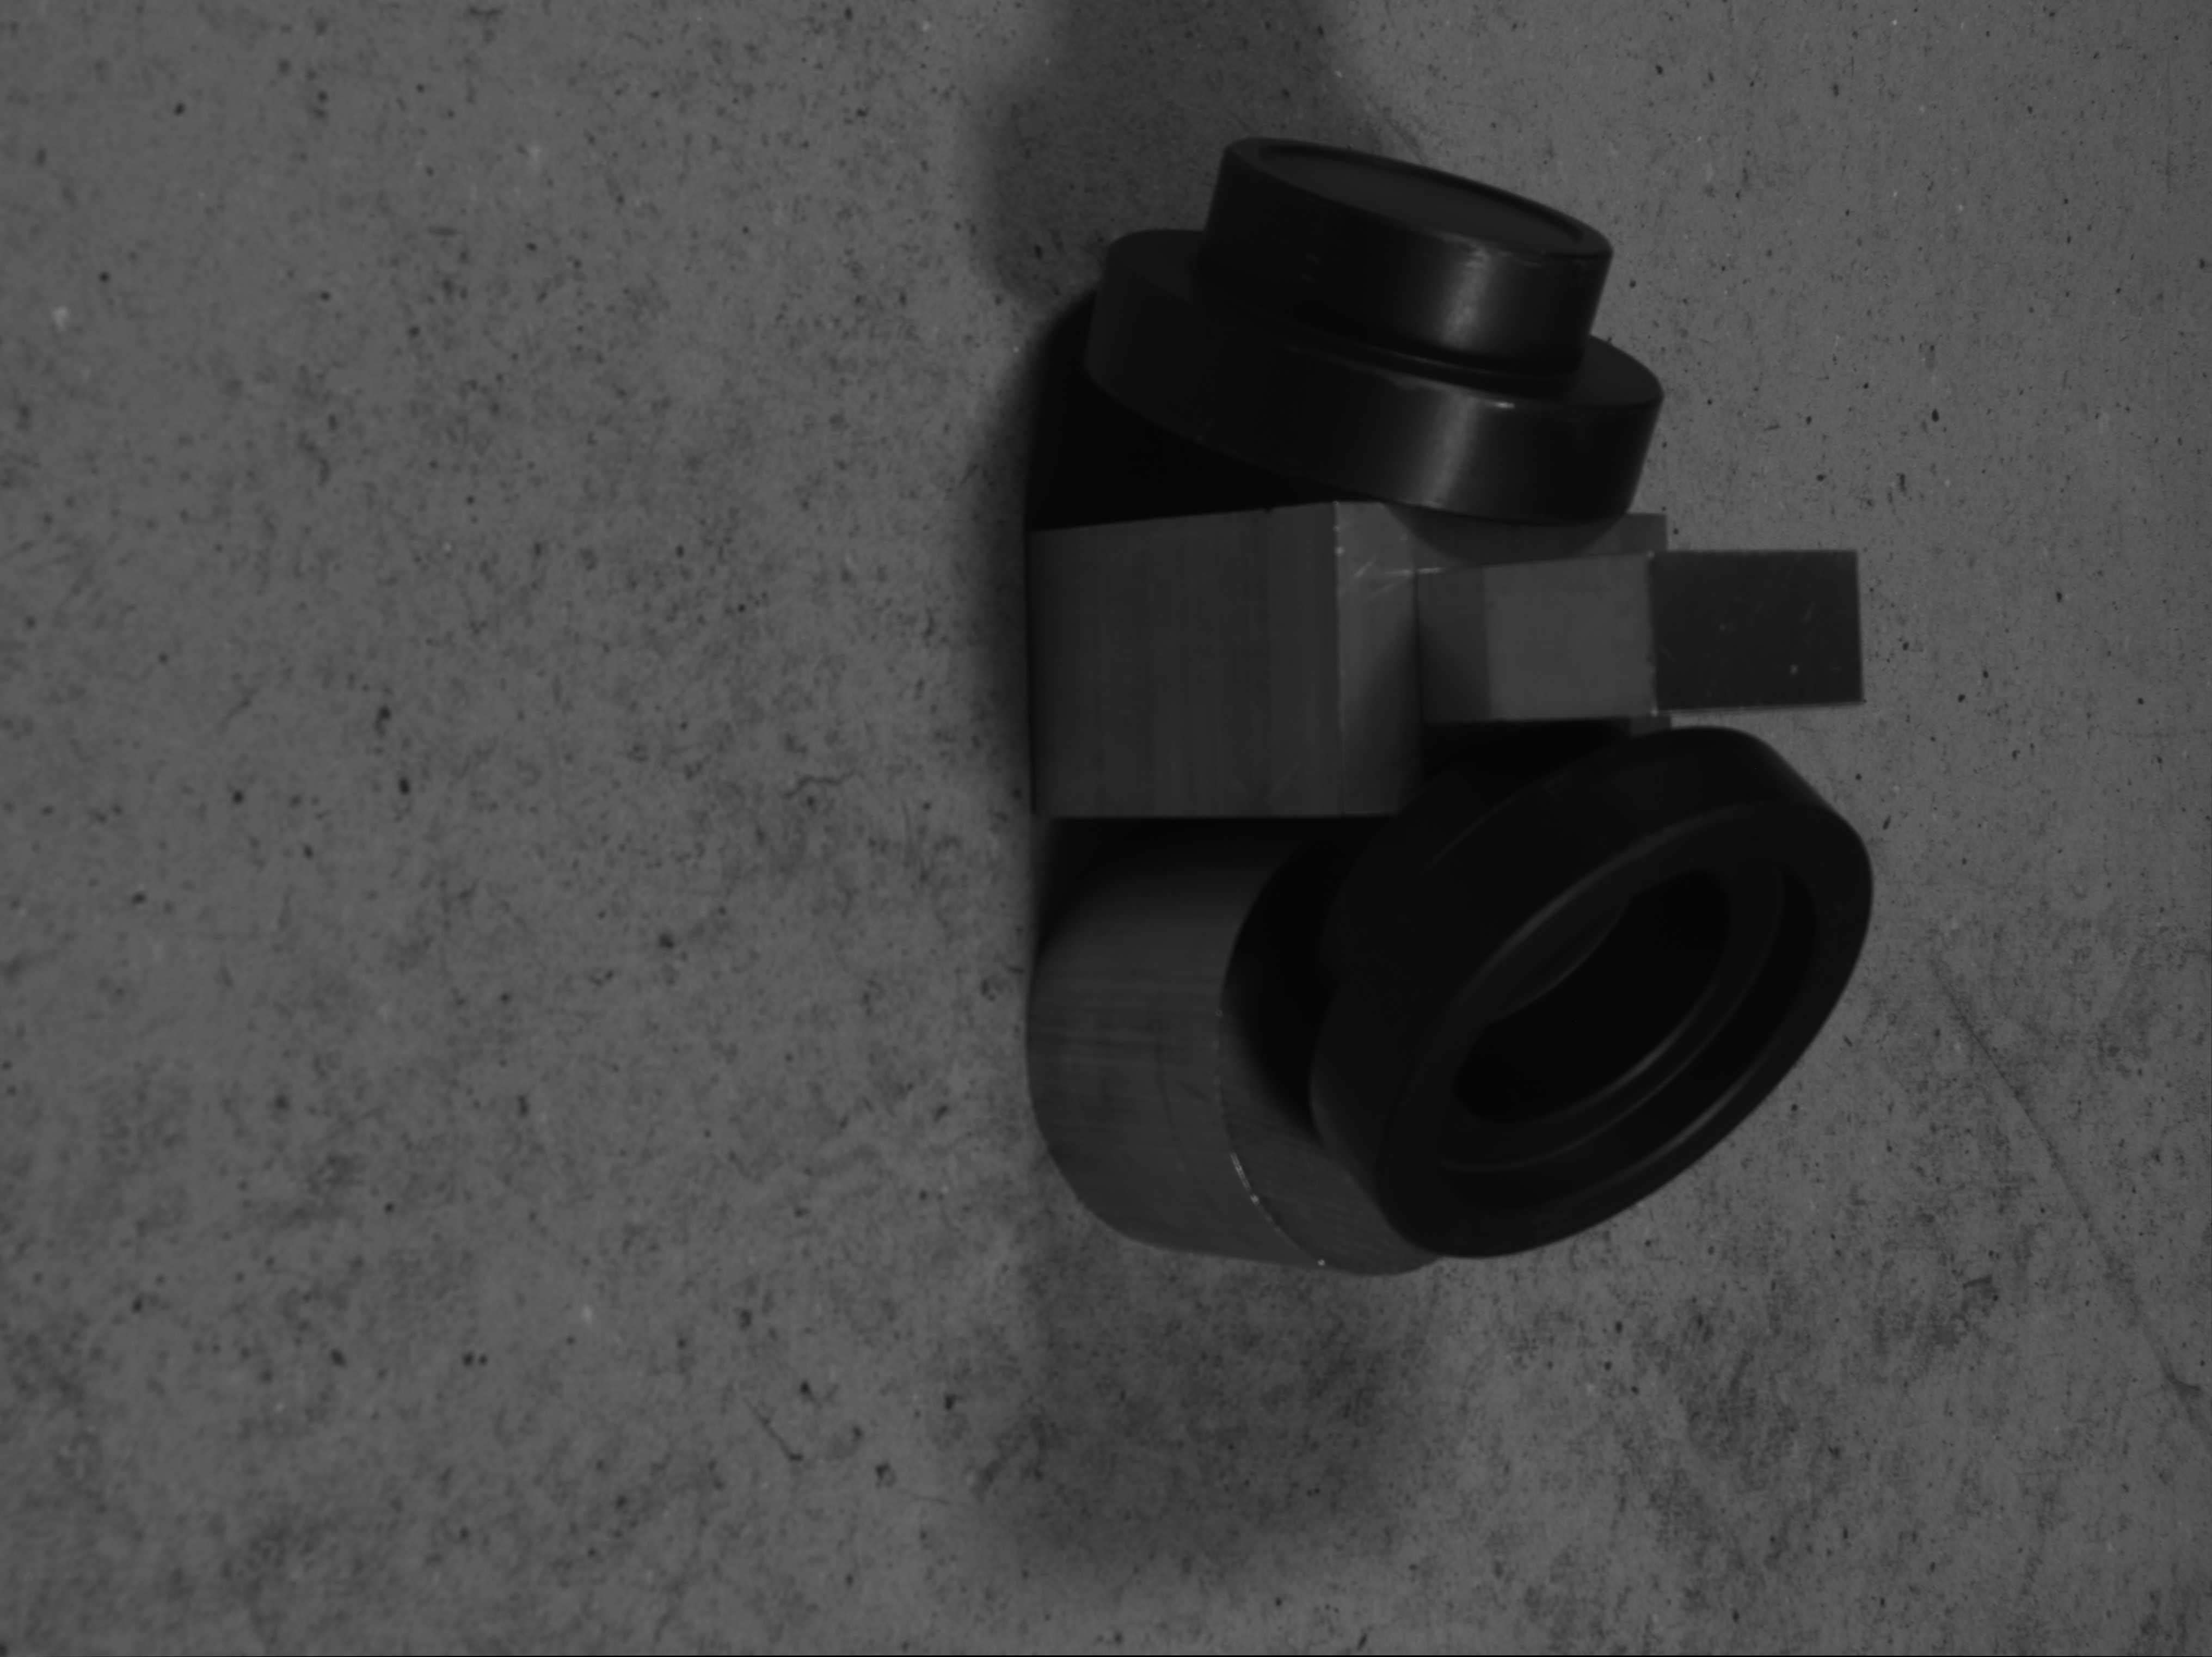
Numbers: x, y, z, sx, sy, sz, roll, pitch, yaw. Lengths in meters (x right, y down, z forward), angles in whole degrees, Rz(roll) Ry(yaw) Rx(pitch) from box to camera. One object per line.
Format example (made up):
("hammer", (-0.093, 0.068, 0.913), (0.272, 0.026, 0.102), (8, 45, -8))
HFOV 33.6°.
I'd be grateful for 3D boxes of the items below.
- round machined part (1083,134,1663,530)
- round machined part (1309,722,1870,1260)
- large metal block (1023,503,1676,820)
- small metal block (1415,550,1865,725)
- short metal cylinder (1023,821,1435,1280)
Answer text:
("round machined part", (0.048, -0.088, 0.625), (0.098, 0.098, 0.042), (-3, 117, -40))
("round machined part", (0.074, 0.021, 0.602), (0.098, 0.042, 0.098), (-23, 141, -21))
("large metal block", (0.042, -0.028, 0.636), (0.080, 0.080, 0.050), (-3, 92, -40))
("small metal block", (0.086, -0.030, 0.588), (0.050, 0.050, 0.025), (-3, 92, -40))
("short metal cylinder", (0.032, 0.038, 0.649), (0.080, 0.050, 0.080), (0, 90, -40))
